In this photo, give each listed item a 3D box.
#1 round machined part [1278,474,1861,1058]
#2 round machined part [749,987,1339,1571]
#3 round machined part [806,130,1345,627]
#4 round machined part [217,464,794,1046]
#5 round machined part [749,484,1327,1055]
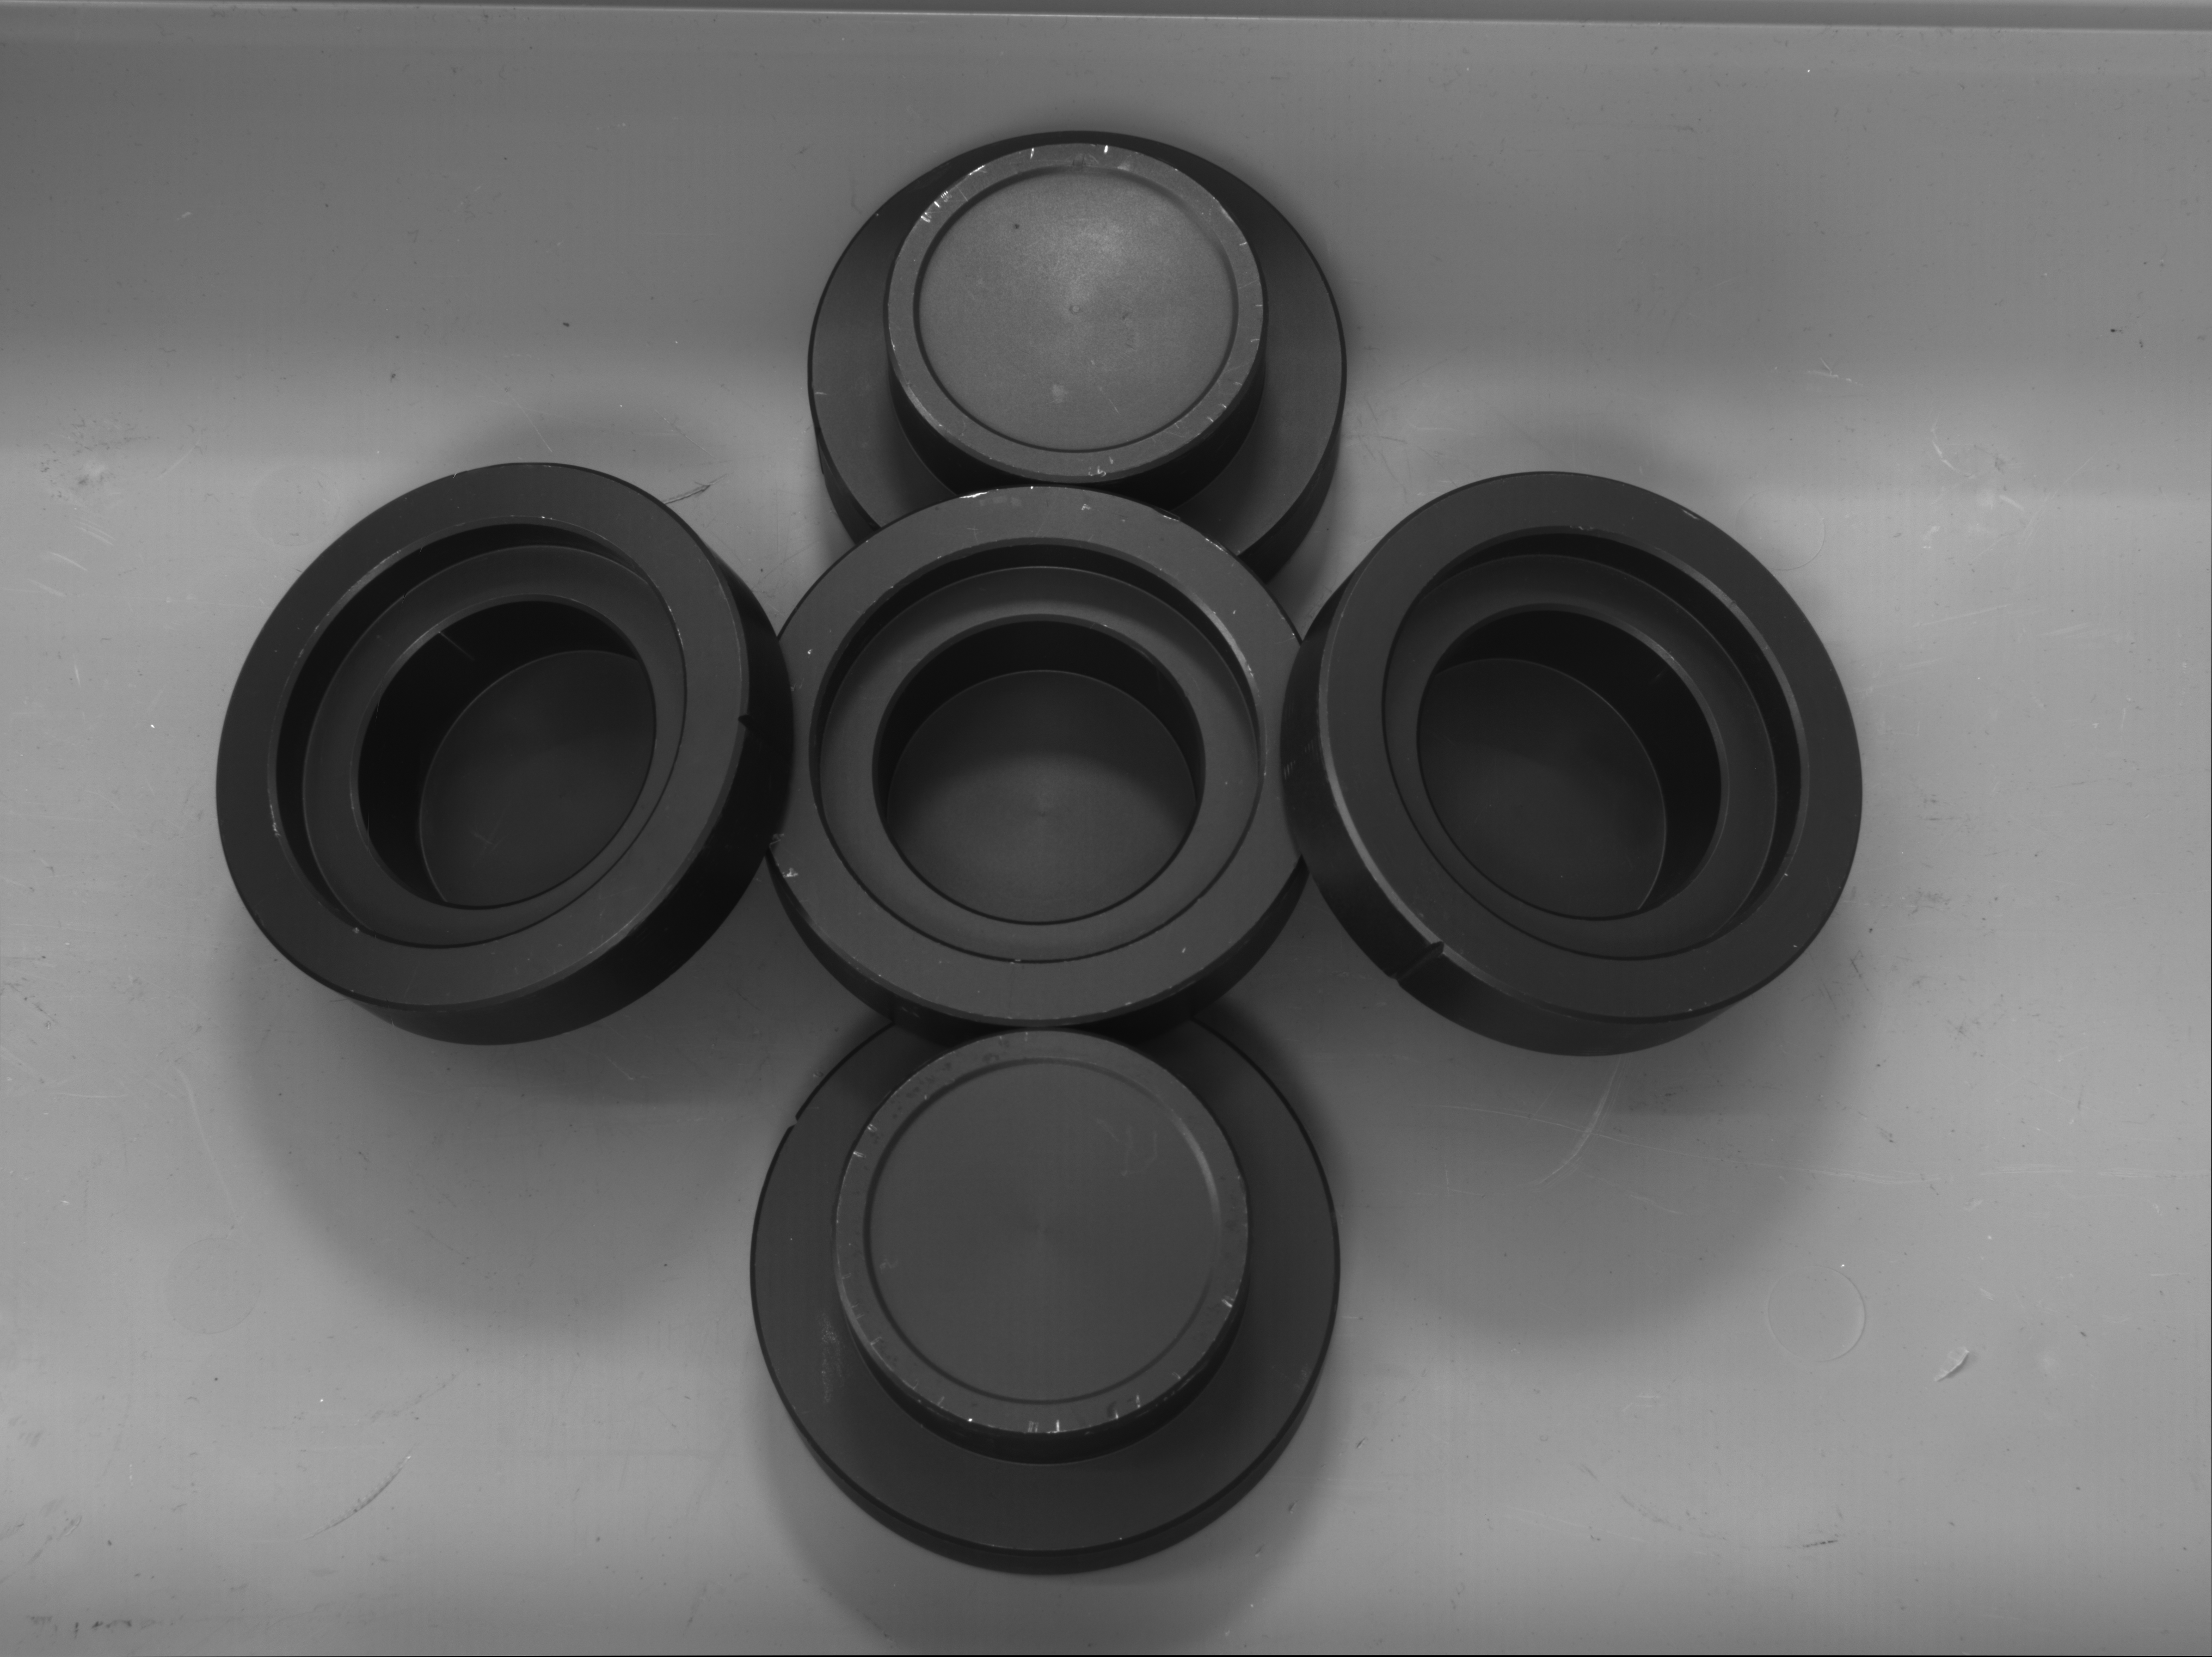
[{"bbox_3d":[0.076,-0.008,0.628,0.098,0.042,0.098,6,69,-15],"label":"round machined part"},{"bbox_3d":[-0.010,0.071,0.608,0.098,0.042,0.098,0,70,0],"label":"round machined part"},{"bbox_3d":[-0.006,-0.085,0.665,0.098,0.042,0.098,0,70,0],"label":"round machined part"},{"bbox_3d":[-0.099,-0.009,0.629,0.098,0.042,0.098,-6,69,16],"label":"round machined part"},{"bbox_3d":[-0.011,-0.007,0.636,0.098,0.042,0.098,0,70,0],"label":"round machined part"}]
